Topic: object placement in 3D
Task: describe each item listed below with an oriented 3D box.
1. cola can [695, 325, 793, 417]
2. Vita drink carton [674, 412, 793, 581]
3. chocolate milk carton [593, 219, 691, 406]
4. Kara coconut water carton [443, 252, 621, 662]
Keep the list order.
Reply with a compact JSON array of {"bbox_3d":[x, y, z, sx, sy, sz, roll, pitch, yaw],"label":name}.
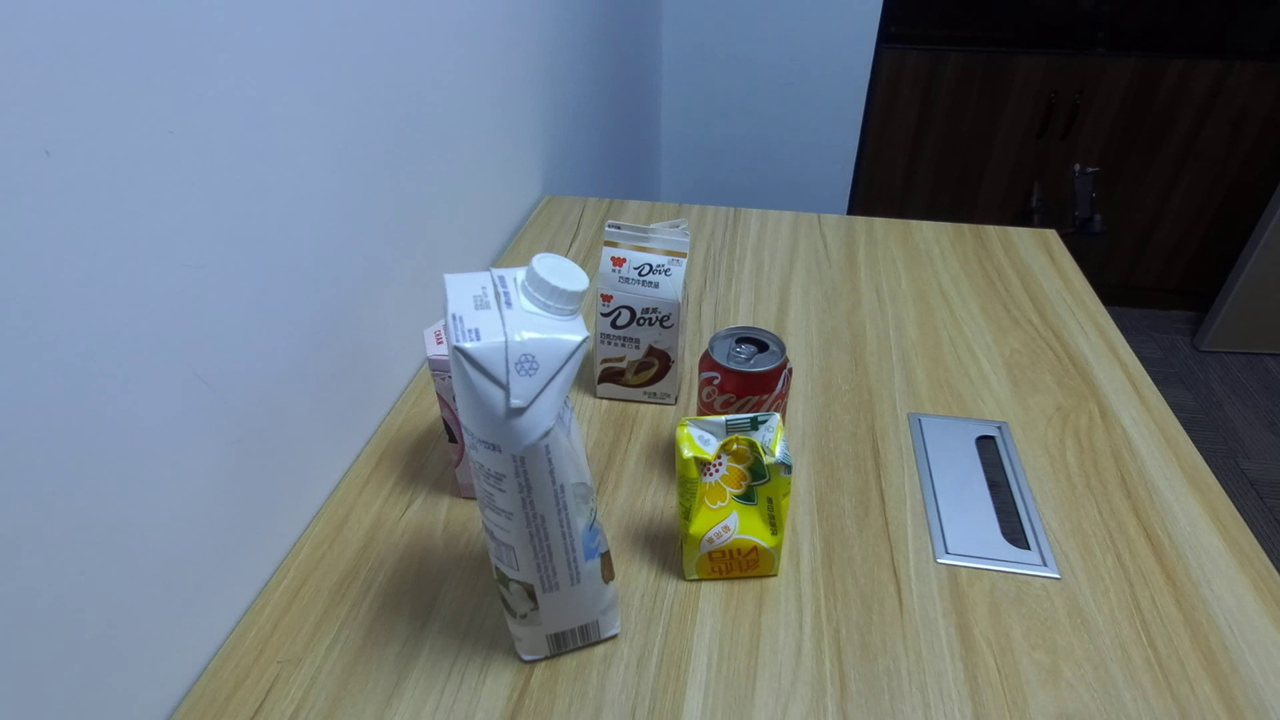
[{"bbox_3d":[0.075,0.036,0.521,0.068,0.120,0.067,1,36,-1],"label":"cola can"},{"bbox_3d":[0.060,0.091,0.456,0.071,0.110,0.046,-3,35,0],"label":"Vita drink carton"},{"bbox_3d":[0.000,-0.046,0.602,0.084,0.155,0.073,5,37,7],"label":"chocolate milk carton"},{"bbox_3d":[-0.055,0.058,0.391,0.071,0.244,0.099,-11,38,-12],"label":"Kara coconut water carton"}]
